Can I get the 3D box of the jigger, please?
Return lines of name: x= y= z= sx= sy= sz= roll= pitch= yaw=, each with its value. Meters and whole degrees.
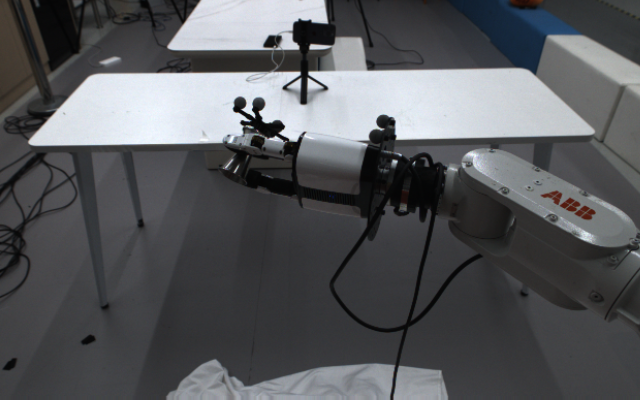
jigger: x=-0.104 y=-0.063 z=0.653 sx=0.043 sy=0.043 sz=0.071 roll=20 pitch=74 yaw=24
